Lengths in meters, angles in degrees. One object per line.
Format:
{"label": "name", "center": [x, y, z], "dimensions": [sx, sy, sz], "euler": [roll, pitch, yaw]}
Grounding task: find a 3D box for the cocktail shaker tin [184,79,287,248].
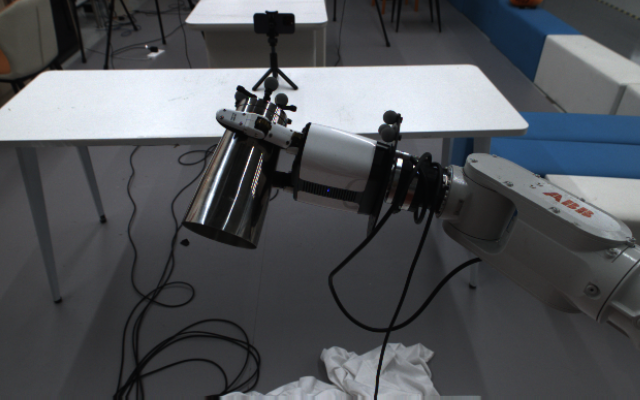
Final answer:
{"label": "cocktail shaker tin", "center": [-0.094, -0.037, 0.593], "dimensions": [0.093, 0.093, 0.170], "euler": [12, 72, 14]}
